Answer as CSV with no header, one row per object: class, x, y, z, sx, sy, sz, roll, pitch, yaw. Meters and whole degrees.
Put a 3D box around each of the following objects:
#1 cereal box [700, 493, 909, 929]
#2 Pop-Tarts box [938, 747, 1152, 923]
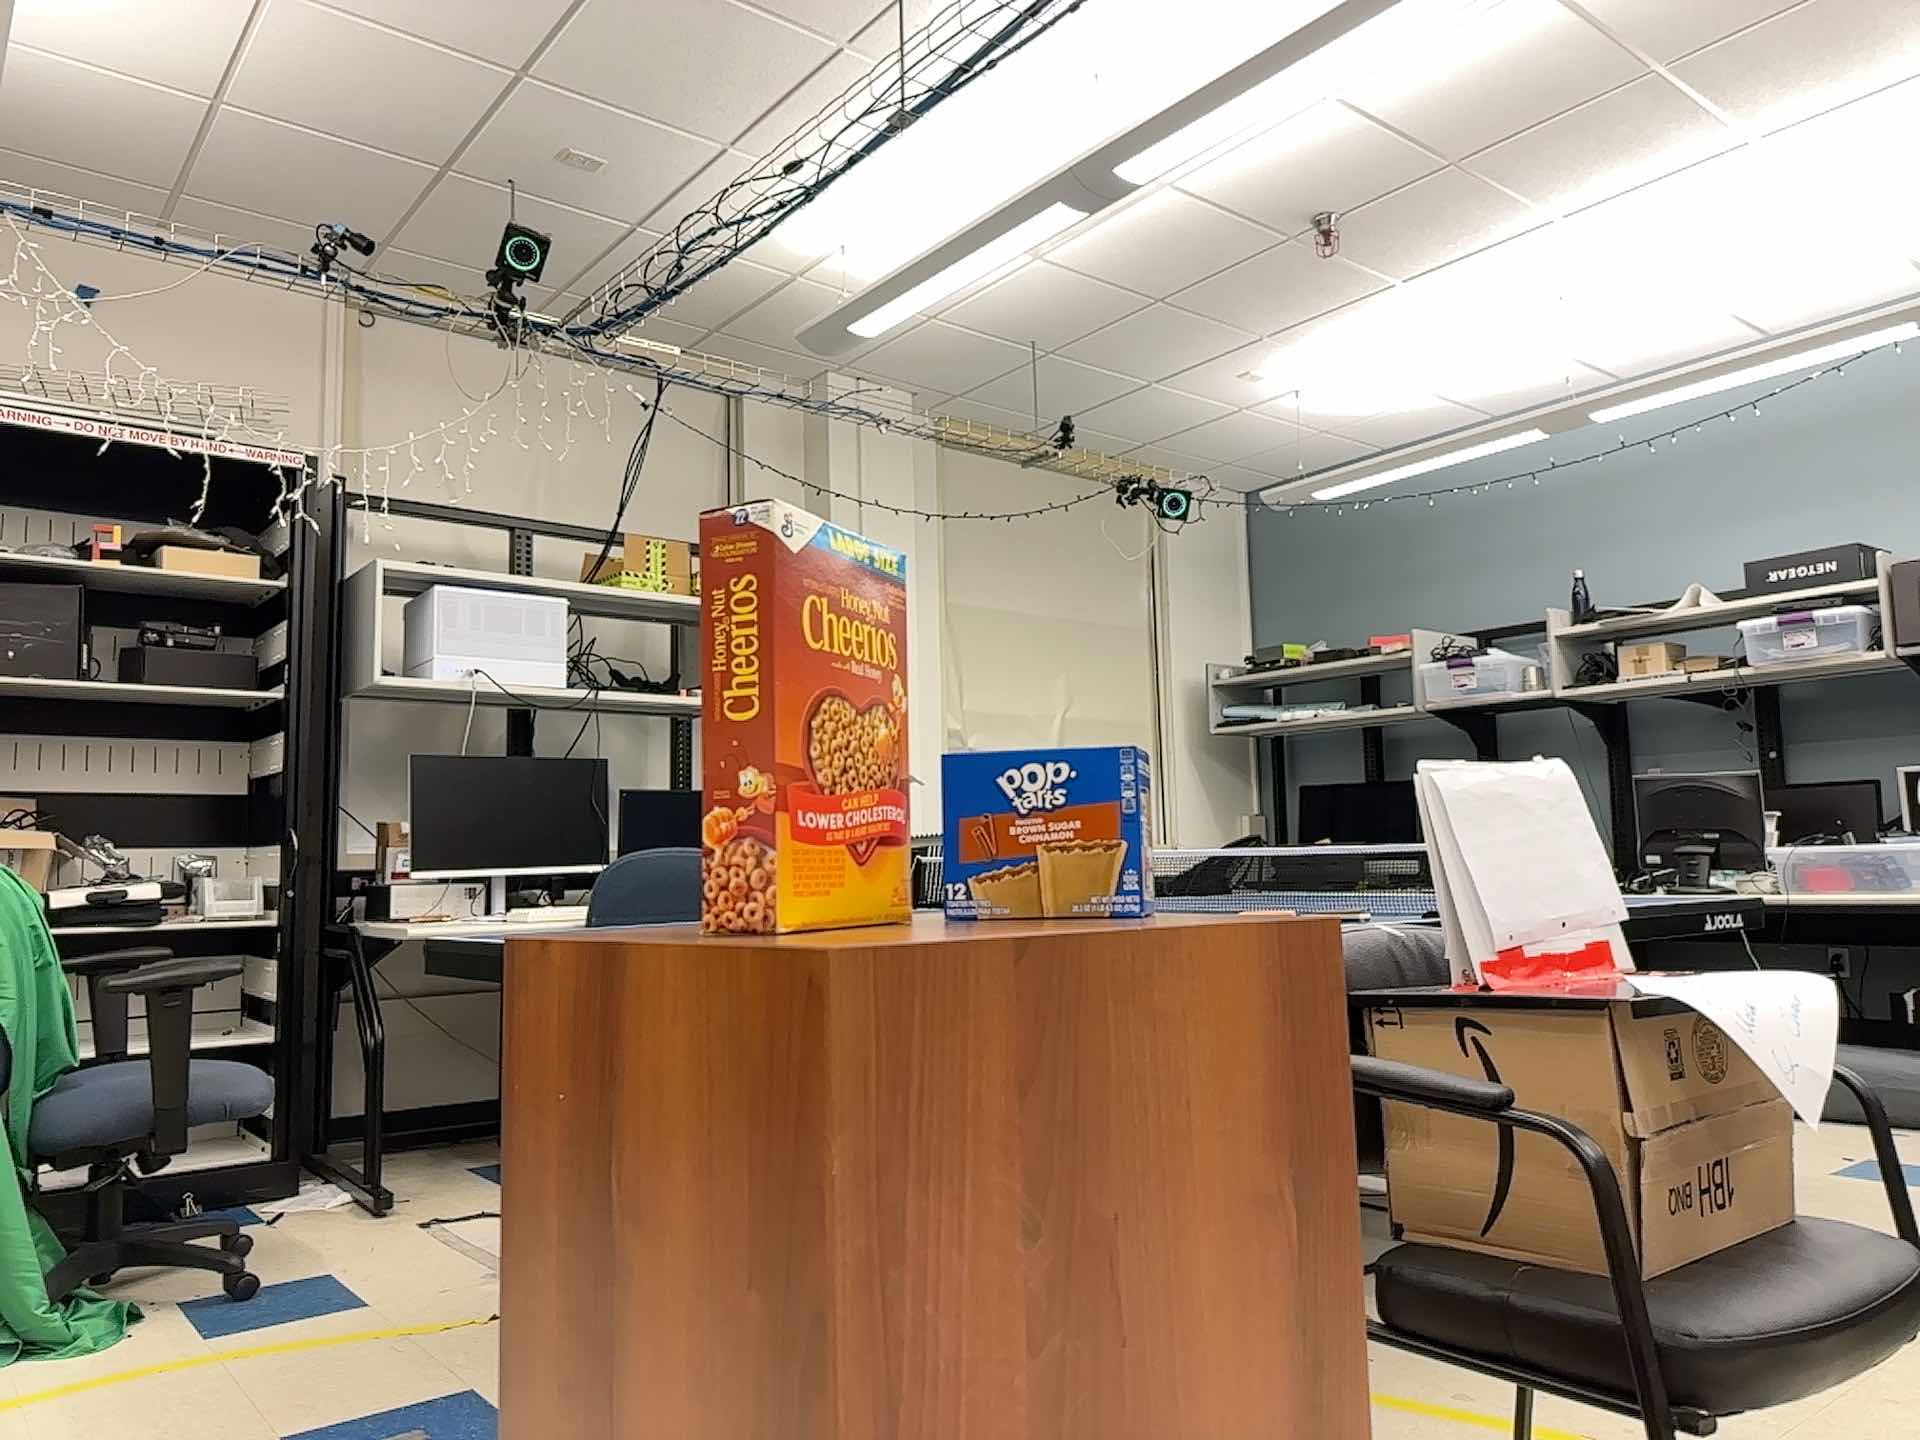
cereal box,-0.112,0.002,1.021,0.065,0.297,0.195,-3,-8,22
Pop-Tarts box,0.071,0.097,1.122,0.161,0.135,0.075,-2,-9,13
